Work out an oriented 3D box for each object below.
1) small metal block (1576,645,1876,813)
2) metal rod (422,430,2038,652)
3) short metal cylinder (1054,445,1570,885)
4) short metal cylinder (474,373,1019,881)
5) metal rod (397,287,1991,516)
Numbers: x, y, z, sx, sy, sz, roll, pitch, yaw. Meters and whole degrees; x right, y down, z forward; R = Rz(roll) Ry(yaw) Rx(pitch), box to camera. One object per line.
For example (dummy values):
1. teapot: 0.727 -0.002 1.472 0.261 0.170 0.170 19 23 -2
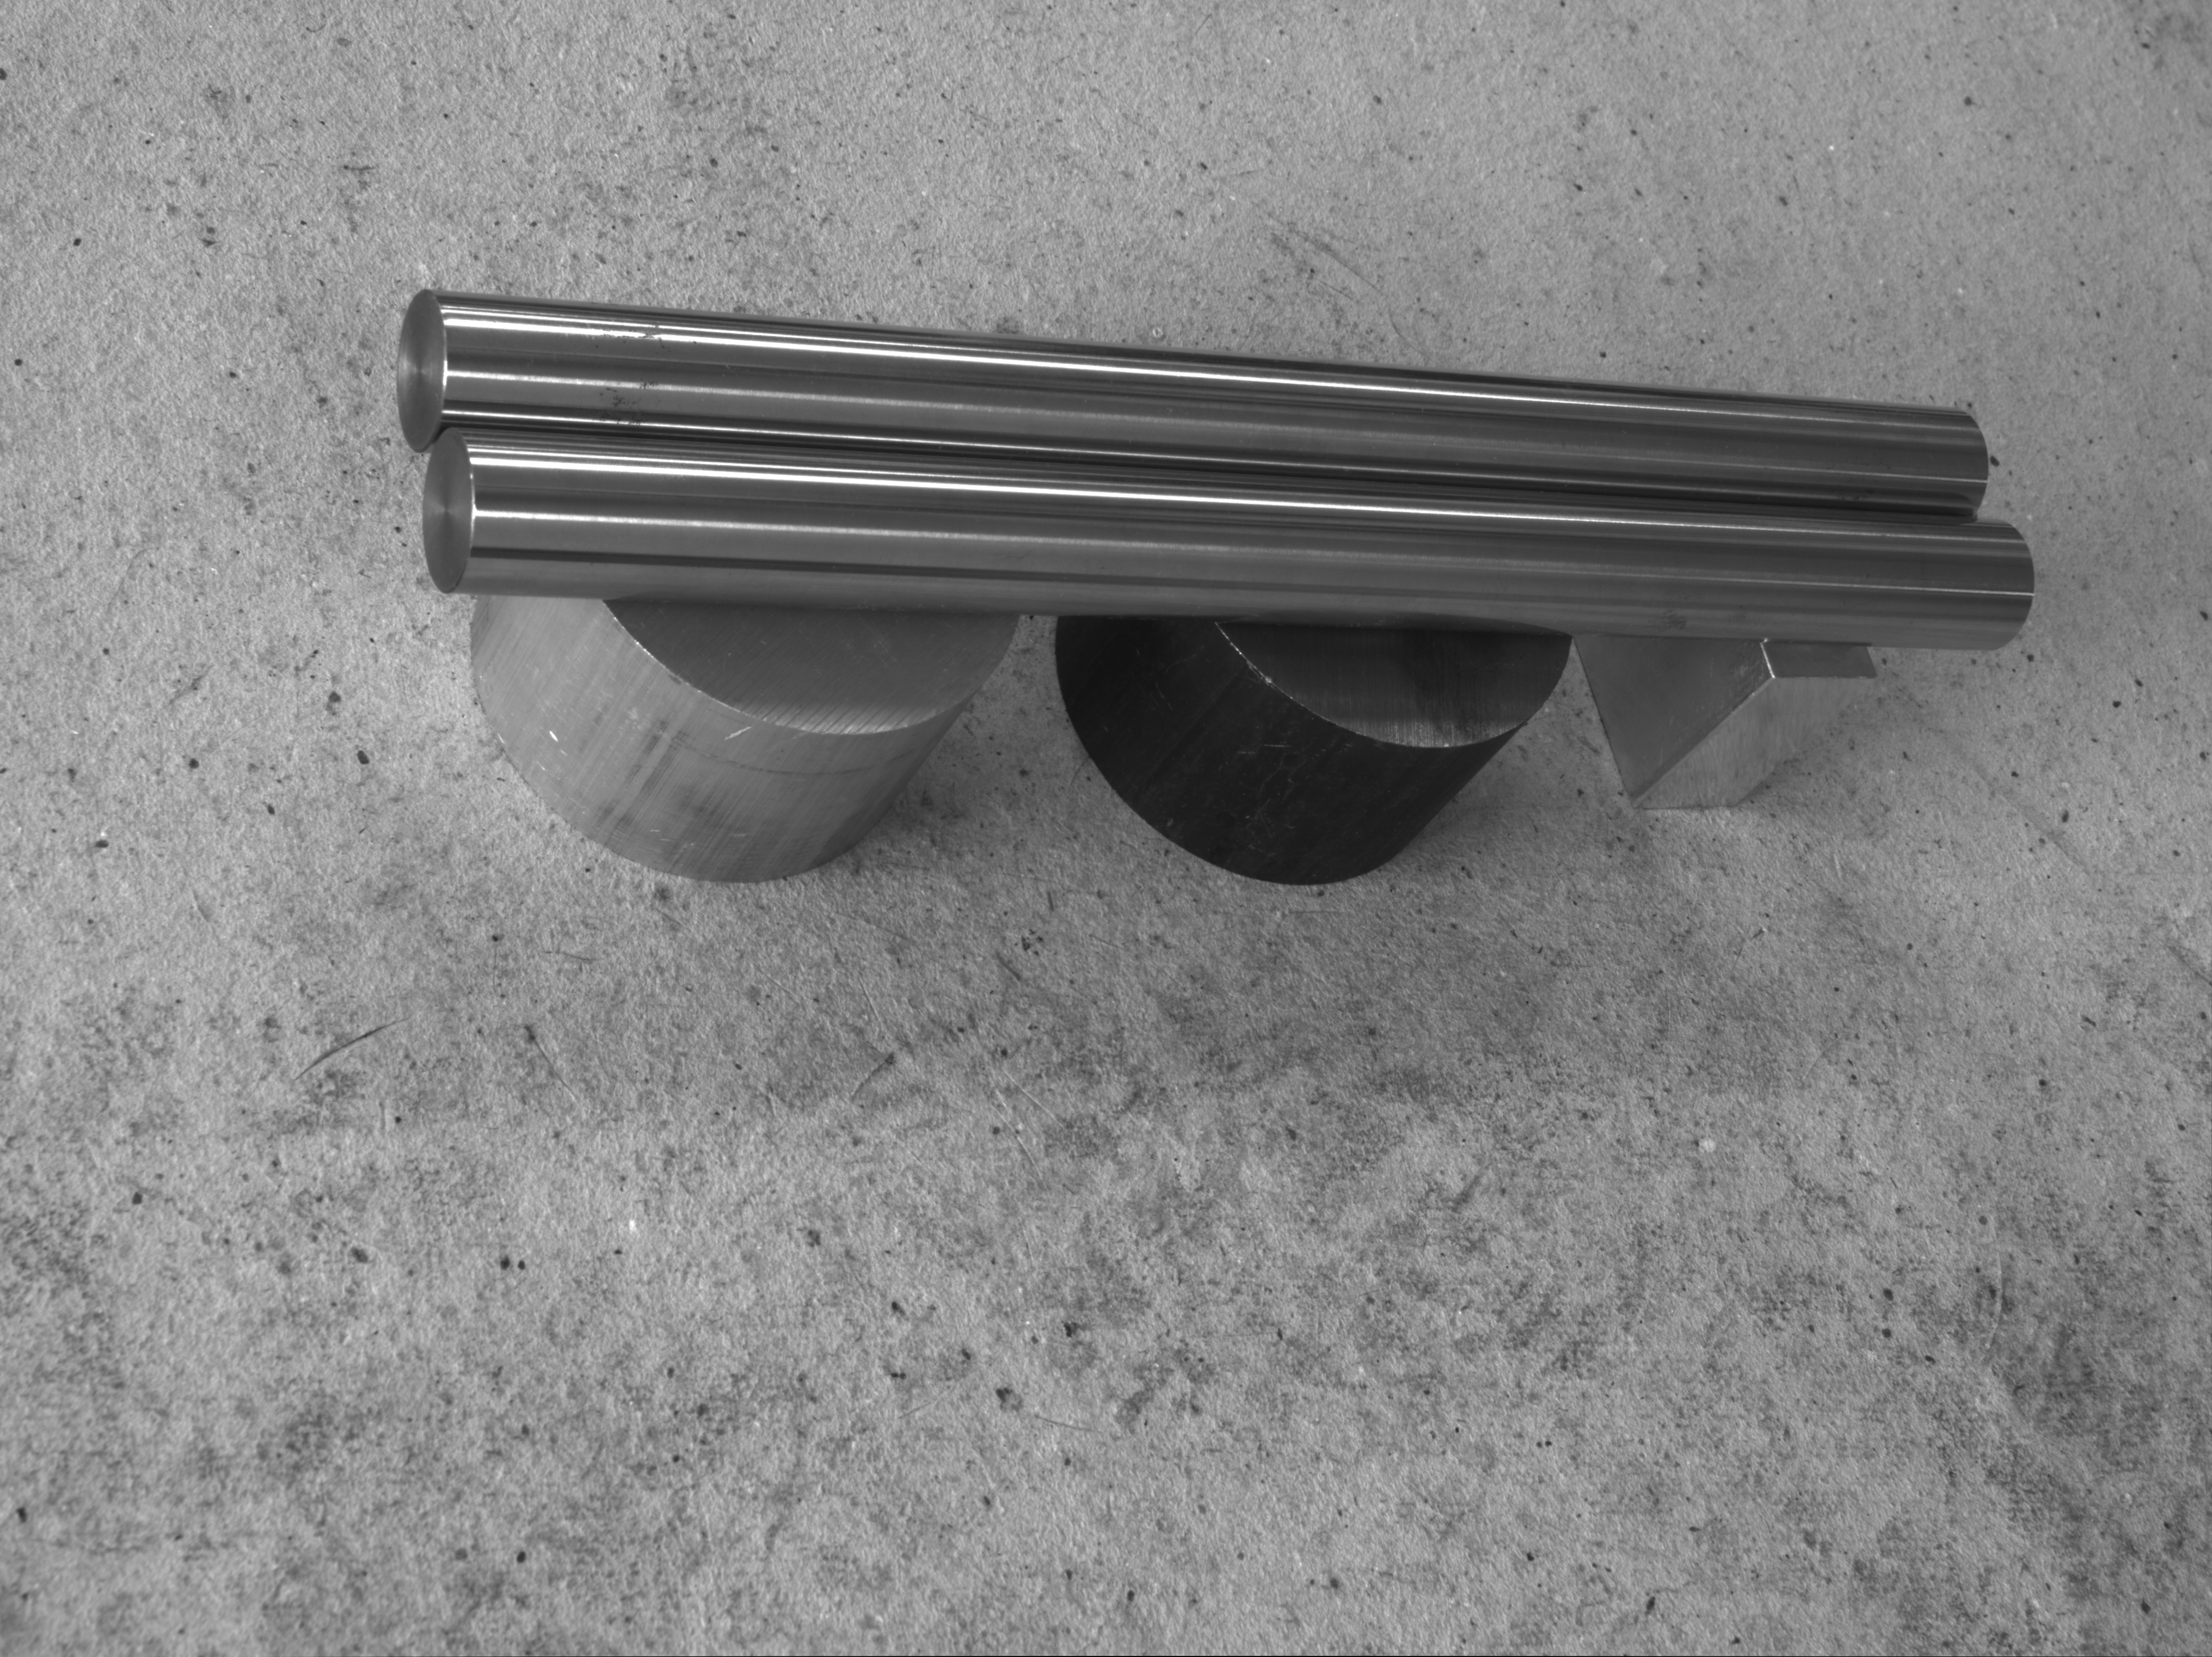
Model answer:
1. small metal block: 0.117 -0.037 0.710 0.025 0.050 0.050 -1 62 -29
2. metal rod: 0.034 -0.046 0.621 0.301 0.025 0.025 0 61 -28
3. short metal cylinder: 0.037 -0.037 0.667 0.080 0.050 0.080 13 56 -21
4. short metal cylinder: -0.060 -0.038 0.614 0.080 0.050 0.080 13 56 -21
5. metal rod: 0.028 -0.069 0.632 0.301 0.025 0.025 0 61 -28
